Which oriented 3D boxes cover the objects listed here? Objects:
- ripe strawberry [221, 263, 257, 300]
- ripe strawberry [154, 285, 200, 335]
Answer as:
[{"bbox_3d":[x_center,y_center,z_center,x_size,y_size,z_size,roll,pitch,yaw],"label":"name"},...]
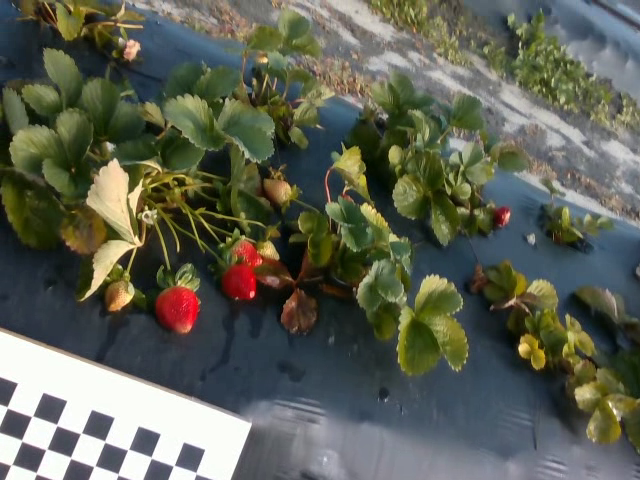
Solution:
[{"bbox_3d":[-0.093,0.054,0.736,0.055,0.044,0.042,40,-14,41],"label":"ripe strawberry"},{"bbox_3d":[-0.153,0.077,0.679,0.050,0.050,0.065,-17,39,-12],"label":"ripe strawberry"}]
